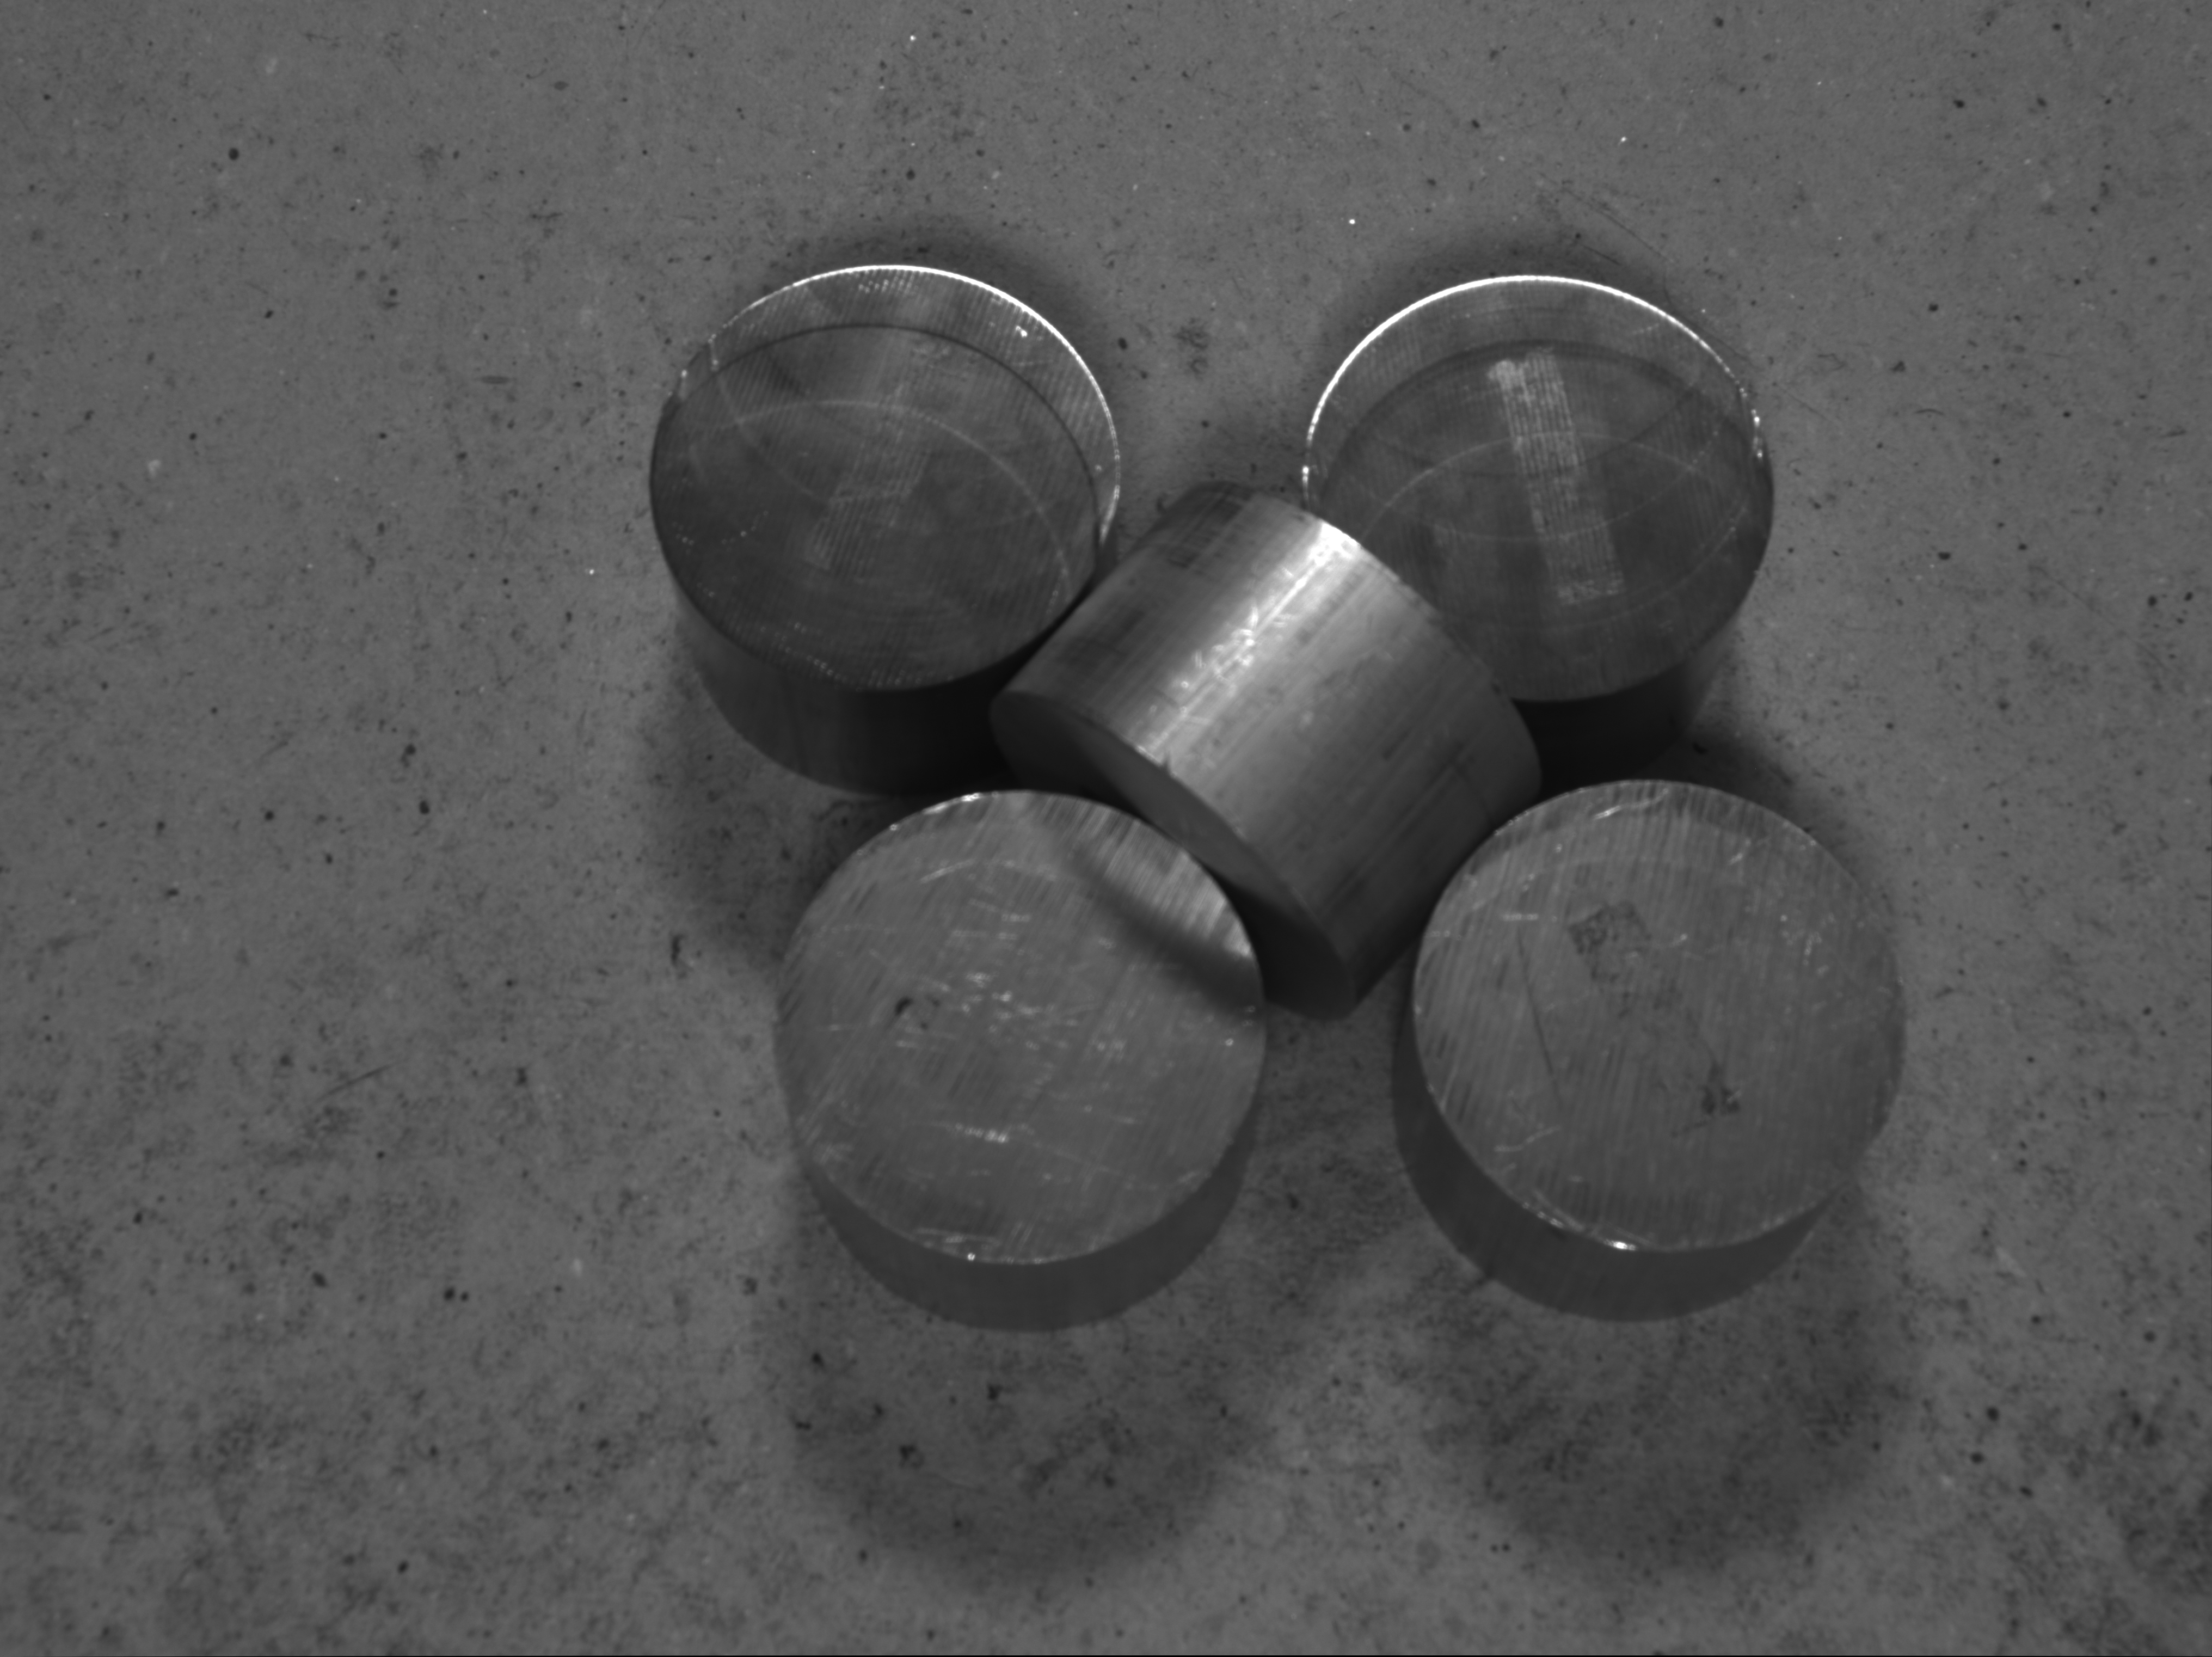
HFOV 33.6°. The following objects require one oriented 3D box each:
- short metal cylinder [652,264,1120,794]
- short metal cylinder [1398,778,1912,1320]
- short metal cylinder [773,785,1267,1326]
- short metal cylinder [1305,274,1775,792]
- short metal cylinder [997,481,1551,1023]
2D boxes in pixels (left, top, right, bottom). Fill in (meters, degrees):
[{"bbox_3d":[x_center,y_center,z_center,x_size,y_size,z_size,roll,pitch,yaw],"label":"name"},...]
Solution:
[{"bbox_3d":[-0.038,-0.052,0.650,0.080,0.050,0.080,0,70,0],"label":"short metal cylinder"},{"bbox_3d":[0.091,0.038,0.617,0.080,0.050,0.080,0,70,0],"label":"short metal cylinder"},{"bbox_3d":[-0.014,0.039,0.616,0.080,0.050,0.080,0,70,0],"label":"short metal cylinder"},{"bbox_3d":[0.074,-0.051,0.648,0.080,0.050,0.080,0,70,0],"label":"short metal cylinder"},{"bbox_3d":[0.028,-0.013,0.621,0.080,0.080,0.050,38,74,13],"label":"short metal cylinder"}]
